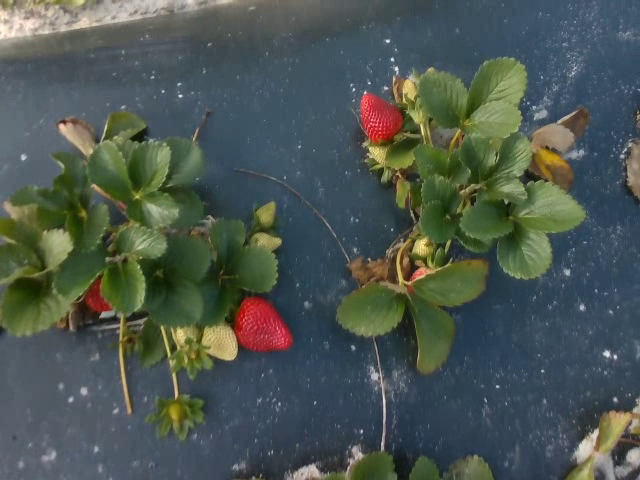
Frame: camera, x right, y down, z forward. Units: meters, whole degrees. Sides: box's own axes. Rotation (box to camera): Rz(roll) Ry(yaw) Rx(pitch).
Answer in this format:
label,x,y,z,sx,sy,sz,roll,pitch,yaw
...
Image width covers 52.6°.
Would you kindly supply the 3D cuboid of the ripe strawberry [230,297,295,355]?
label,x,y,z,sx,sy,sz,roll,pitch,yaw
ripe strawberry,-0.046,0.083,0.563,0.055,0.051,0.048,32,27,28
